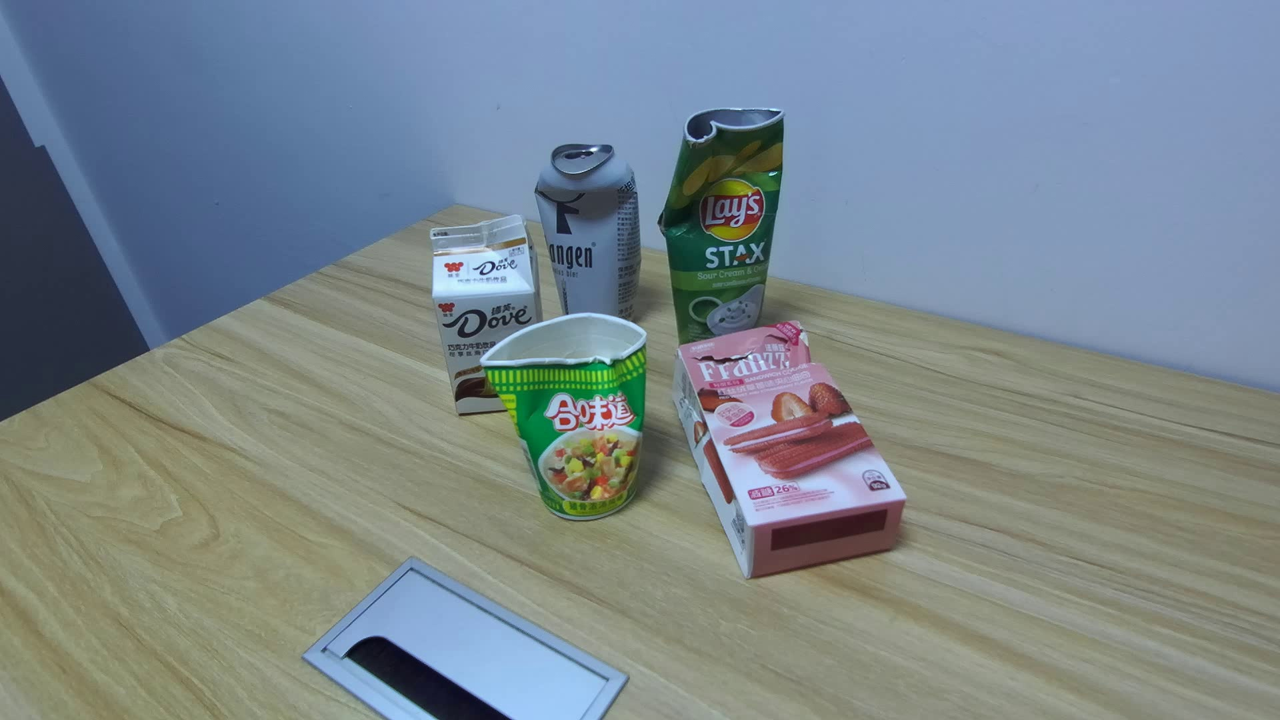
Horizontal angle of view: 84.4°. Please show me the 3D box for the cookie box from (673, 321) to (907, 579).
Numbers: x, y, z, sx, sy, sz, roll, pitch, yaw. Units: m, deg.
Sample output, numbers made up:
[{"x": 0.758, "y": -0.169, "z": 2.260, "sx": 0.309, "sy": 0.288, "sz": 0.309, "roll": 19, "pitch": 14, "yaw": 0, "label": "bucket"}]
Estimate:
[{"x": 0.090, "y": 0.053, "z": 0.477, "sx": 0.105, "sy": 0.059, "sz": 0.185, "roll": -10, "pitch": 38, "yaw": -4, "label": "cookie box"}]

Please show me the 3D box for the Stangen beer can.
[{"x": -0.043, "y": -0.103, "z": 0.618, "sx": 0.077, "sy": 0.162, "sz": 0.065, "roll": -16, "pitch": 37, "yaw": -18, "label": "Stangen beer can"}]

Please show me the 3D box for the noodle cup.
[{"x": -0.036, "y": 0.038, "z": 0.456, "sx": 0.082, "sy": 0.122, "sz": 0.075, "roll": 5, "pitch": 27, "yaw": 28, "label": "noodle cup"}]

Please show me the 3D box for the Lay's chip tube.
[{"x": 0.064, "y": -0.092, "z": 0.561, "sx": 0.069, "sy": 0.201, "sz": 0.077, "roll": 21, "pitch": 43, "yaw": 31, "label": "Lay's chip tube"}]

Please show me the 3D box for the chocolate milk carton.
[{"x": -0.112, "y": -0.040, "z": 0.544, "sx": 0.075, "sy": 0.148, "sz": 0.074, "roll": -4, "pitch": 36, "yaw": -2, "label": "chocolate milk carton"}]
